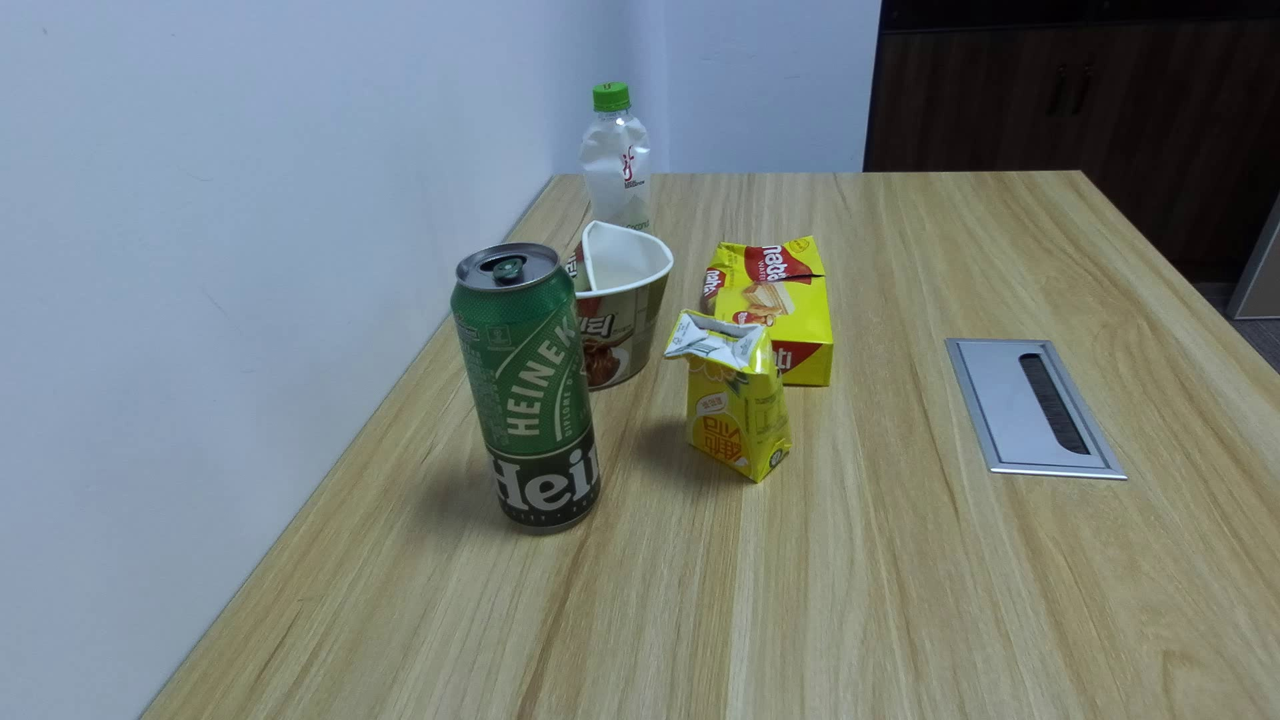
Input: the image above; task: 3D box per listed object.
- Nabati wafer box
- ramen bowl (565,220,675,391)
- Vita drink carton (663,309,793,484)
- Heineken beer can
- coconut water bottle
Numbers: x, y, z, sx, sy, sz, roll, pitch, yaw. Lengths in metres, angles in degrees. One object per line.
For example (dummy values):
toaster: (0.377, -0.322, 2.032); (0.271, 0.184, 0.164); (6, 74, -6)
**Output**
Nabati wafer box: (0.108, -0.053, 0.618); (0.107, 0.042, 0.204); (3, 33, 7)
ramen bowl: (-0.042, -0.040, 0.565); (0.137, 0.098, 0.137); (-4, 37, 3)
Vita drink carton: (0.056, 0.023, 0.453); (0.042, 0.108, 0.086); (-42, 43, -24)
Heineken beer can: (-0.063, 0.021, 0.415); (0.067, 0.169, 0.067); (-4, 33, 3)
coconut water bottle: (-0.020, -0.149, 0.640); (0.069, 0.186, 0.069); (-4, 31, 3)
